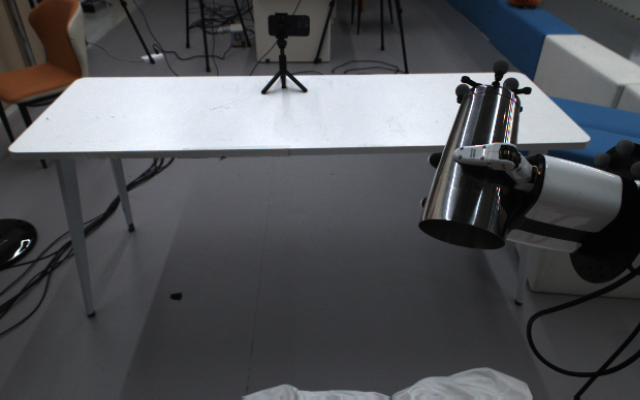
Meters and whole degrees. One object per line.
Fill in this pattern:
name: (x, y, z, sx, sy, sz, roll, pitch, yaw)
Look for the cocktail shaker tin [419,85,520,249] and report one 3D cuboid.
cocktail shaker tin: (0.178, -0.039, 0.547, 0.093, 0.093, 0.170, 13, 74, 16)
